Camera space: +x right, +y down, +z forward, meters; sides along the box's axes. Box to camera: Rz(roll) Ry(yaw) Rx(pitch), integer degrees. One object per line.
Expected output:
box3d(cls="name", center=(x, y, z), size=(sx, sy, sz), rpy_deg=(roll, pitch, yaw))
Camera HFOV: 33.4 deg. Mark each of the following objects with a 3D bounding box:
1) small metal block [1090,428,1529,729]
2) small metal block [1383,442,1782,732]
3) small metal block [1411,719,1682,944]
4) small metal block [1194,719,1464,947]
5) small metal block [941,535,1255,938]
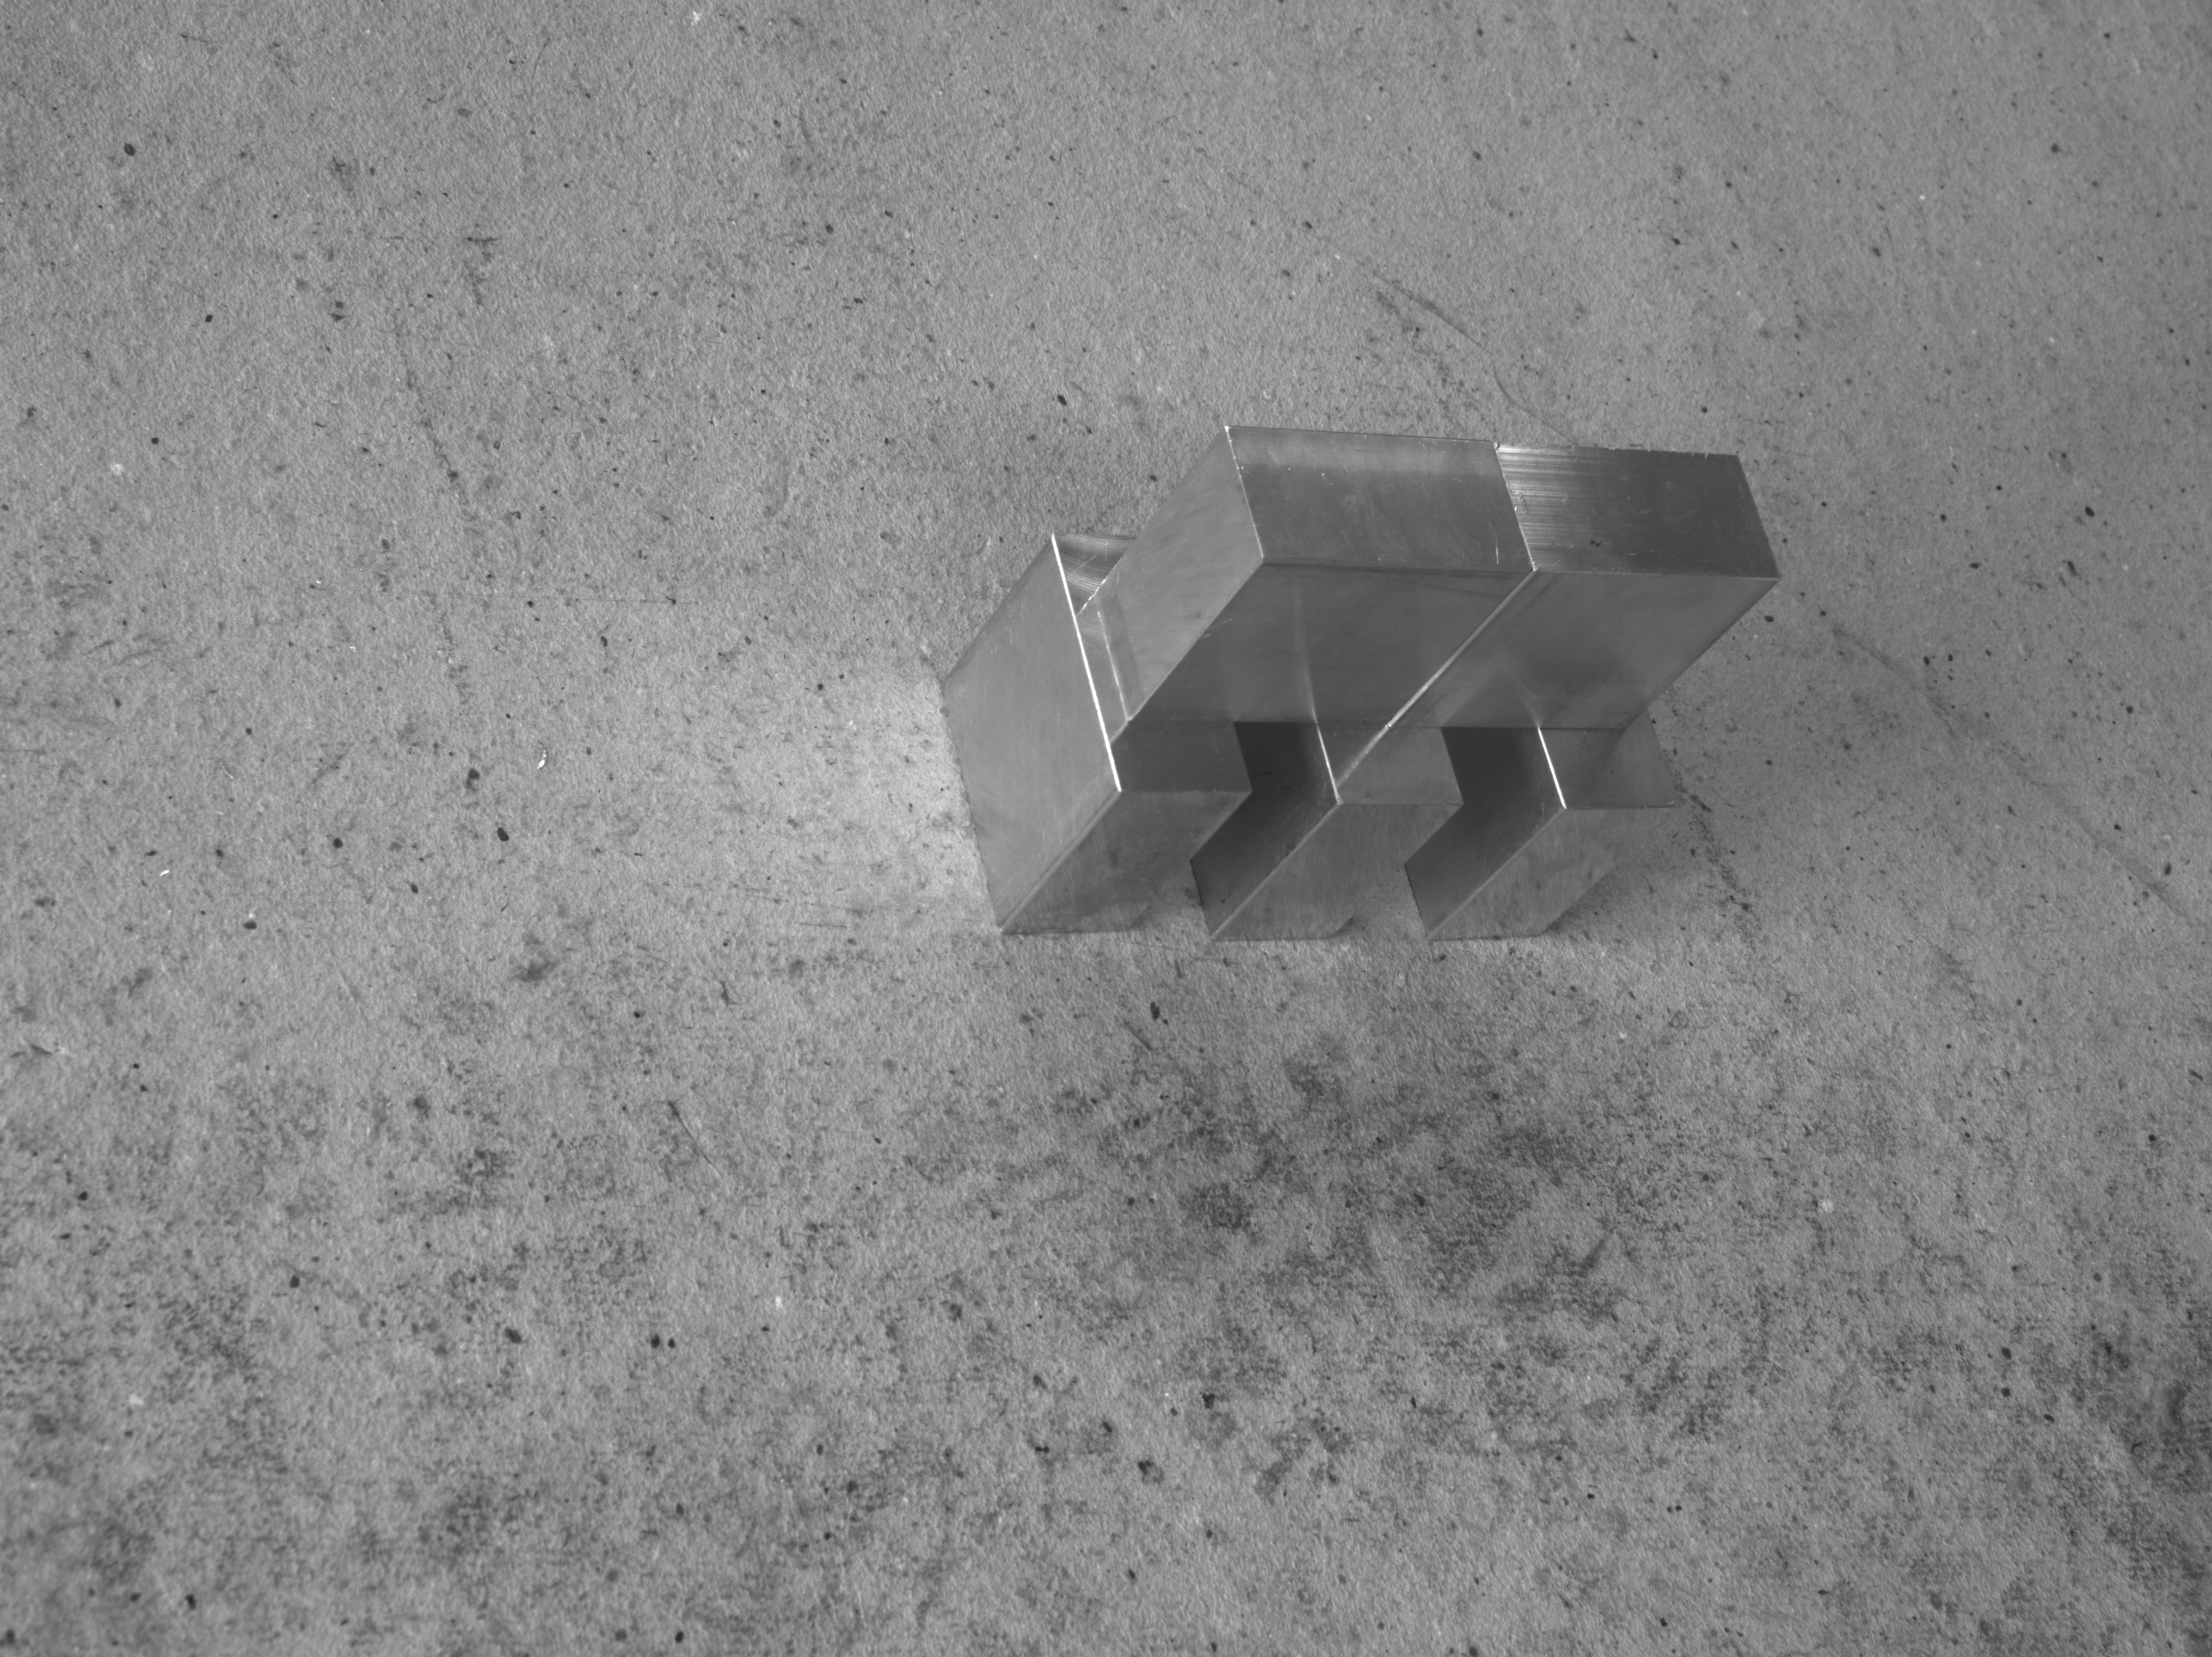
box3d(cls="small metal block", center=(0.032, -0.040, 0.602), size=(0.050, 0.050, 0.025), rpy_deg=(0, 62, -28))
box3d(cls="small metal block", center=(0.077, -0.040, 0.625), size=(0.050, 0.050, 0.025), rpy_deg=(0, 62, -28))
box3d(cls="small metal block", center=(0.074, -0.013, 0.672), size=(0.025, 0.050, 0.050), rpy_deg=(-2, 62, -28))
box3d(cls="small metal block", center=(0.034, -0.013, 0.651), size=(0.025, 0.050, 0.050), rpy_deg=(-2, 62, -28))
box3d(cls="small metal block", center=(-0.002, -0.015, 0.631), size=(0.025, 0.050, 0.050), rpy_deg=(-1, 62, -28))
